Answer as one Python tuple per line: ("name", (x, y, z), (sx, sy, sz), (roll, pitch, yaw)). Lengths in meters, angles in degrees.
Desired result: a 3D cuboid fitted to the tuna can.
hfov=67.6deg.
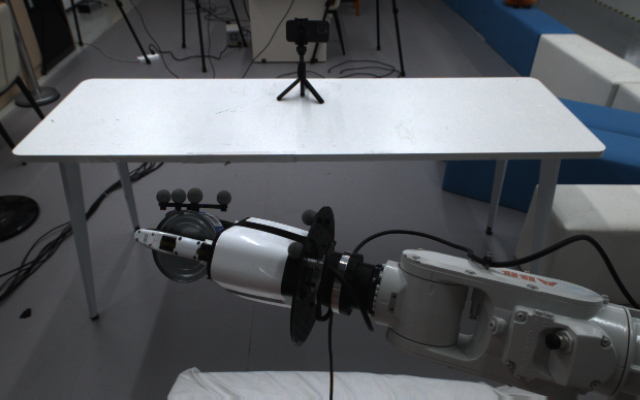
("tuna can", (-0.153, 0.056, 0.581), (0.085, 0.085, 0.034), (12, -1, 13))
